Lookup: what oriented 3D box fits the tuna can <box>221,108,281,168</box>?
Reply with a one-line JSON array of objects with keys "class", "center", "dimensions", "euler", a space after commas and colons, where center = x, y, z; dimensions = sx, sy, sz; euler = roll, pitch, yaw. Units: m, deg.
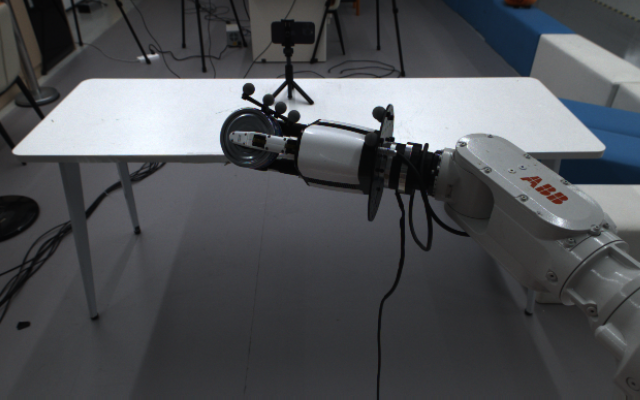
[{"class": "tuna can", "center": [-0.096, -0.082, 0.688], "dimensions": [0.085, 0.085, 0.034], "euler": [12, 4, 14]}]
